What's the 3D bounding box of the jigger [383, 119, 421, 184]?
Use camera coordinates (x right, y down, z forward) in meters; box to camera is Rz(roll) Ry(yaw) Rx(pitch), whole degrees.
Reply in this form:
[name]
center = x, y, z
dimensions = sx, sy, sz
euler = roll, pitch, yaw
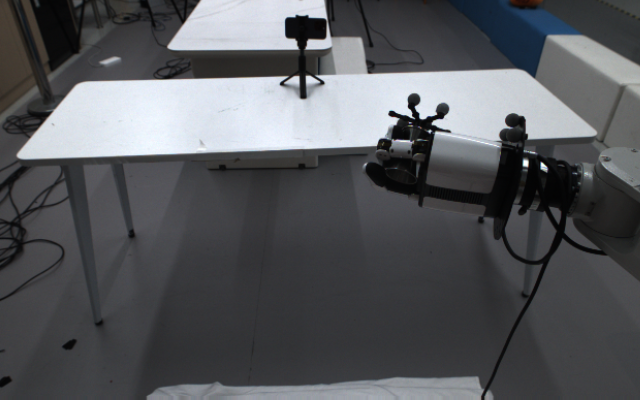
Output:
[jigger]
center = 0.119, -0.064, 0.650
dimensions = 0.043, 0.043, 0.071
euler = 16, 70, 19
